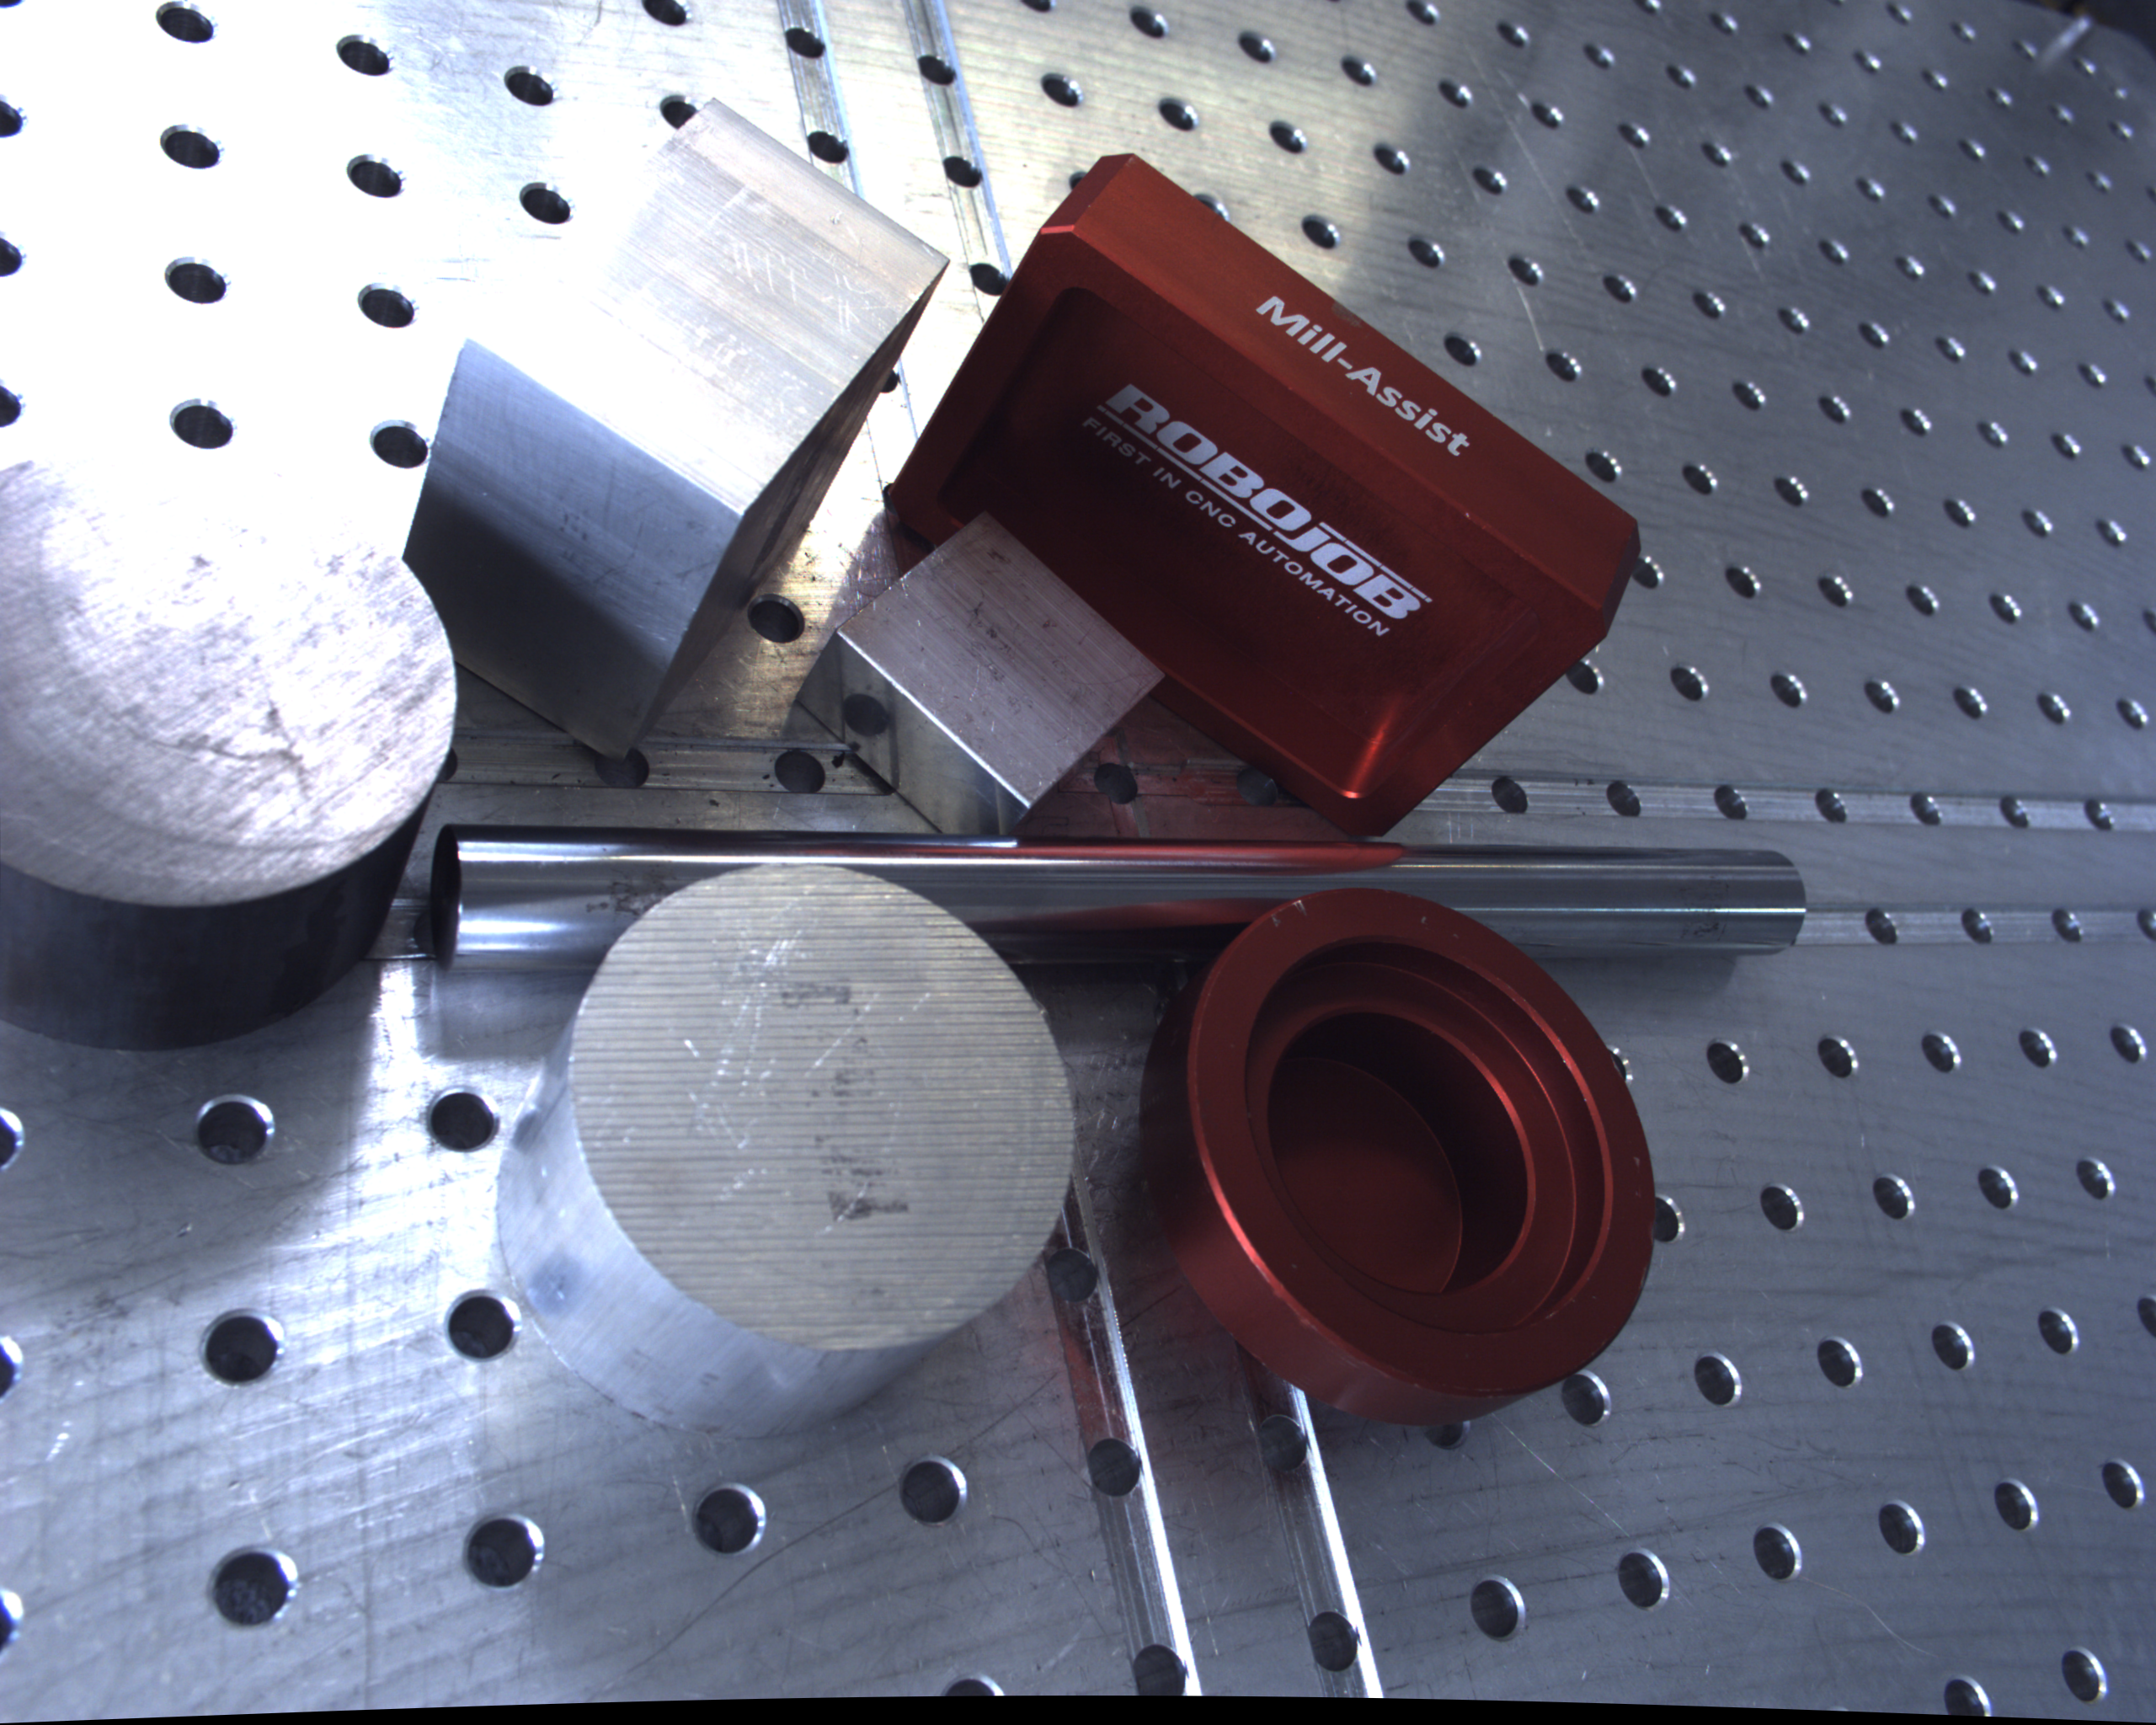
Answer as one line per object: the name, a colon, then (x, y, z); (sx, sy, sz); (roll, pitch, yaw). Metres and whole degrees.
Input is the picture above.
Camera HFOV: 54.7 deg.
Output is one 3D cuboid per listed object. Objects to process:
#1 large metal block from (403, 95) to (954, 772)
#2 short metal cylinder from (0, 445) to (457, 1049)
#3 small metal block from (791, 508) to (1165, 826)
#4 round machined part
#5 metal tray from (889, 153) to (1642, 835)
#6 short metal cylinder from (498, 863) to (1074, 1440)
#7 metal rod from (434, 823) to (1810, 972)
large metal block: (-0.075, -0.077, 0.379); (0.050, 0.080, 0.080); (34, 51, -7)
short metal cylinder: (-0.143, -0.018, 0.325); (0.081, 0.050, 0.080); (14, 56, -21)
small metal block: (-0.020, -0.036, 0.419); (0.050, 0.025, 0.050); (43, 51, 1)
round machined part: (0.055, 0.057, 0.392); (0.099, 0.042, 0.098); (14, 56, -21)
metal tray: (0.036, -0.070, 0.428); (0.130, 0.090, 0.030); (35, 51, -6)
short metal cylinder: (-0.048, 0.047, 0.337); (0.081, 0.050, 0.080); (14, 56, -21)
metal rod: (0.028, 0.007, 0.418); (0.303, 0.025, 0.025); (1, 62, -28)
